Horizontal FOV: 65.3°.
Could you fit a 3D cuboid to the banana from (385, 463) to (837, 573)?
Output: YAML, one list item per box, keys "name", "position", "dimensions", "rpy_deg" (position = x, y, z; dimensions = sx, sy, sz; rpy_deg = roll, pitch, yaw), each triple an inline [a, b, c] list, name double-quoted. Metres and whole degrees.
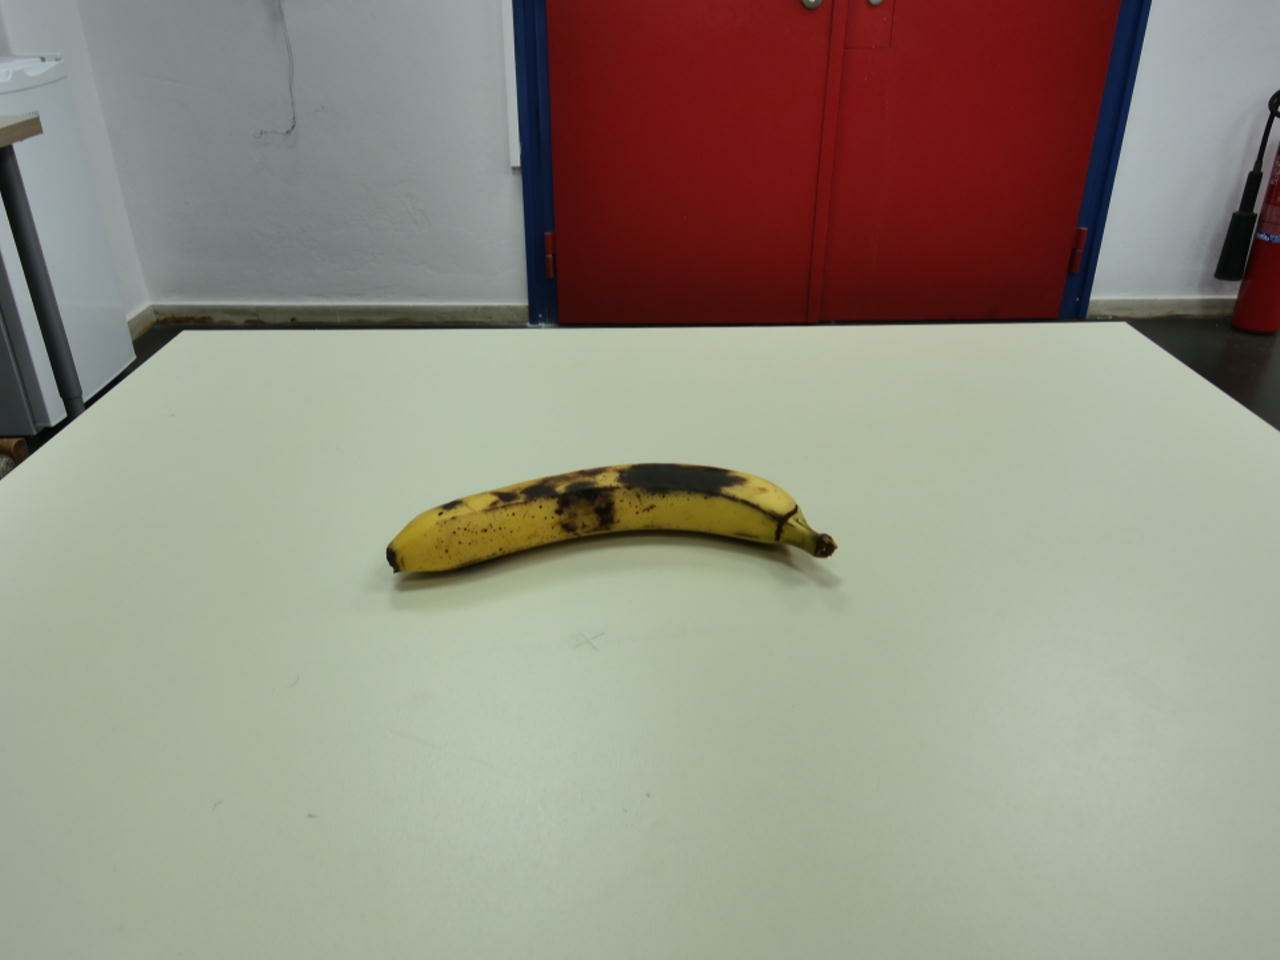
- name: "banana"
  position: [-0.015, 0.019, 0.524]
  dimensions: [0.222, 0.037, 0.084]
  rpy_deg: [0, 26, 0]
